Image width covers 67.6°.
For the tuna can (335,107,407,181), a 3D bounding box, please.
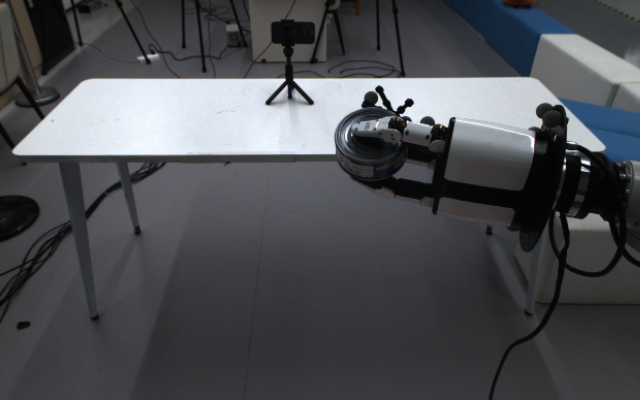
[{"bbox_3d":[0.064,-0.060,0.563,0.085,0.034,0.085,-4,58,6],"label":"tuna can"}]
